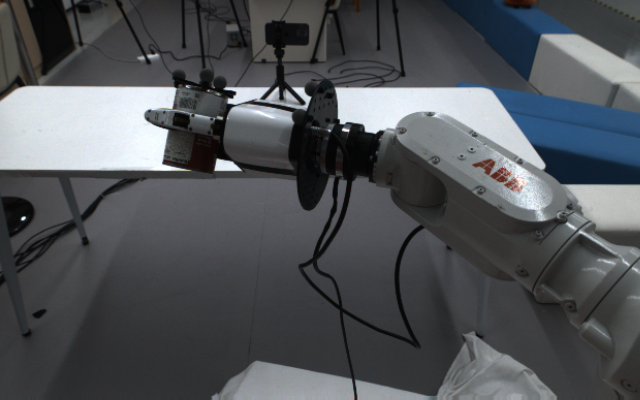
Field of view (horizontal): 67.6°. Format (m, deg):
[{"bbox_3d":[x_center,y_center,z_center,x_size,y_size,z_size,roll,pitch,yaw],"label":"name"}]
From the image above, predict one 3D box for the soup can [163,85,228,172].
[{"bbox_3d":[-0.160,-0.088,0.624,0.067,0.101,0.067,12,2,0],"label":"soup can"}]
